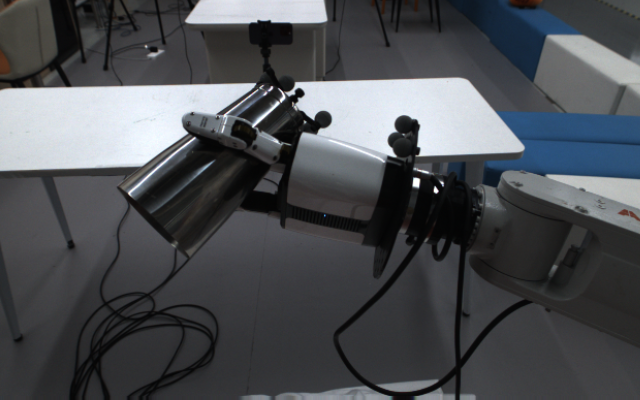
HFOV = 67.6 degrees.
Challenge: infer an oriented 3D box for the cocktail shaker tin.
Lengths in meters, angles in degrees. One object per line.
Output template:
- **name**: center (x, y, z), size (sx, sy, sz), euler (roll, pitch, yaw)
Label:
- **cocktail shaker tin**: center (-0.094, -0.039, 0.468), size (0.093, 0.093, 0.170), euler (32, 66, 35)
